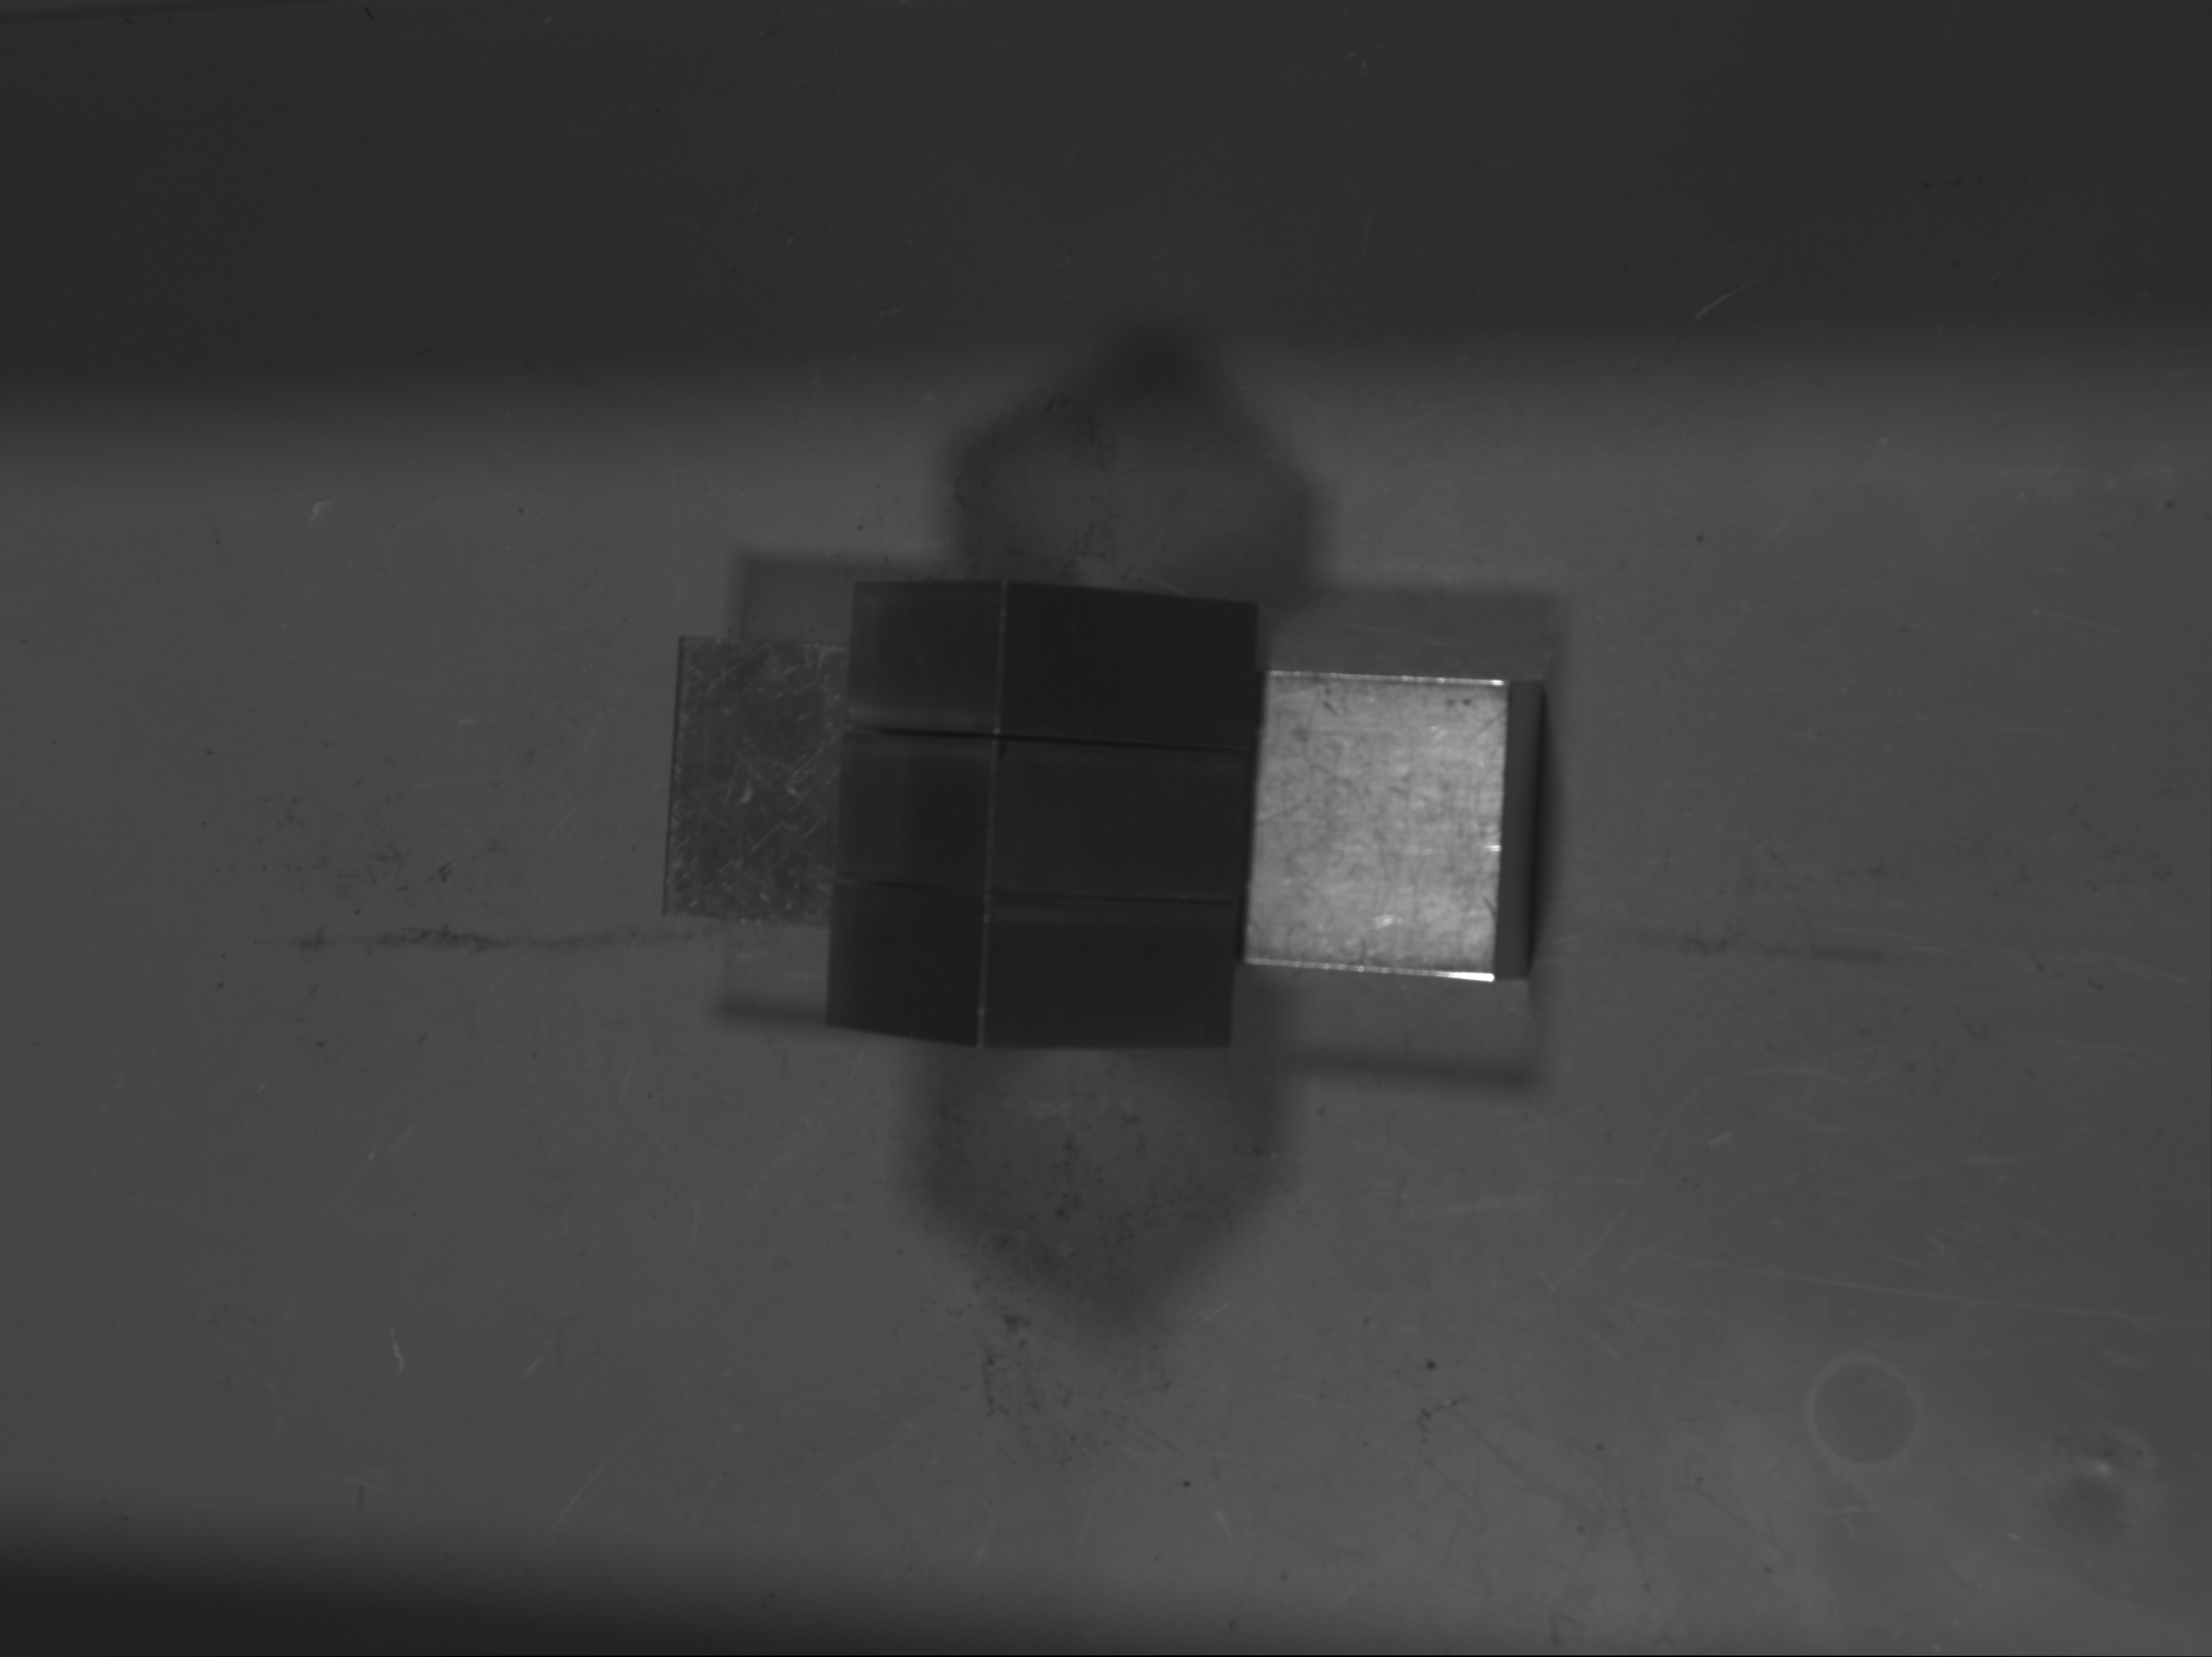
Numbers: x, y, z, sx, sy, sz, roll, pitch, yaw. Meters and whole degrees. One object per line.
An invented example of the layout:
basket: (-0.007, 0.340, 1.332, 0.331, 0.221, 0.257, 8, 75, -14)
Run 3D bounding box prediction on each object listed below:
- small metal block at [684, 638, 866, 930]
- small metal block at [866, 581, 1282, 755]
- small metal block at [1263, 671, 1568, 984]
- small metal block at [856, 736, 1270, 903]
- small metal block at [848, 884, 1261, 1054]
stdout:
small metal block: (-0.046, -0.007, 0.660, 0.050, 0.025, 0.050, 4, 91, 20)
small metal block: (-0.006, -0.027, 0.621, 0.050, 0.050, 0.025, 4, 91, 56)
small metal block: (0.050, -0.001, 0.626, 0.050, 0.025, 0.050, 3, 91, 20)
small metal block: (-0.008, -0.002, 0.622, 0.050, 0.050, 0.025, 3, 90, 56)
small metal block: (-0.009, 0.024, 0.622, 0.050, 0.050, 0.025, 3, 90, 56)
